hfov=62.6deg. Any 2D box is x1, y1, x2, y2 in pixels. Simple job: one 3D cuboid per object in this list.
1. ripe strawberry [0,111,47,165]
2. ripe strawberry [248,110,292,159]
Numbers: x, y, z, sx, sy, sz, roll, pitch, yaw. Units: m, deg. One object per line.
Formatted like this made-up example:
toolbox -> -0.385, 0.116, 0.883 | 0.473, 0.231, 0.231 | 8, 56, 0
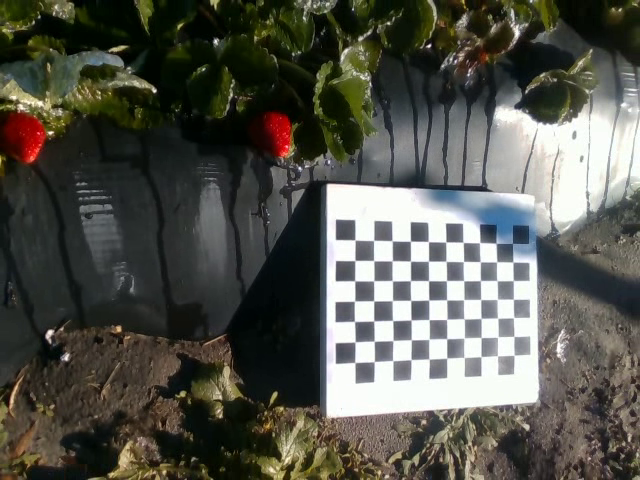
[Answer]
ripe strawberry -> -0.230, -0.075, 0.392 | 0.037, 0.040, 0.051 | -14, 44, -17
ripe strawberry -> -0.043, -0.092, 0.450 | 0.041, 0.053, 0.047 | -6, -39, -17
